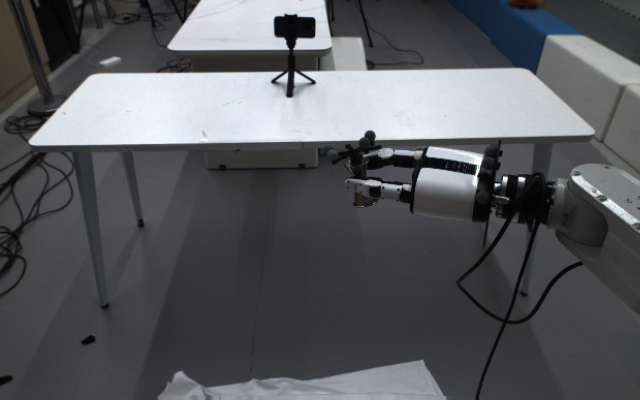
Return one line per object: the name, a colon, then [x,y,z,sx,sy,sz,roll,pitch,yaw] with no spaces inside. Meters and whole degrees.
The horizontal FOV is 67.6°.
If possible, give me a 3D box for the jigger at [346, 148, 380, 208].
jigger: [0.065,-0.028,0.756,0.043,0.071,0.043,-14,21,6]
